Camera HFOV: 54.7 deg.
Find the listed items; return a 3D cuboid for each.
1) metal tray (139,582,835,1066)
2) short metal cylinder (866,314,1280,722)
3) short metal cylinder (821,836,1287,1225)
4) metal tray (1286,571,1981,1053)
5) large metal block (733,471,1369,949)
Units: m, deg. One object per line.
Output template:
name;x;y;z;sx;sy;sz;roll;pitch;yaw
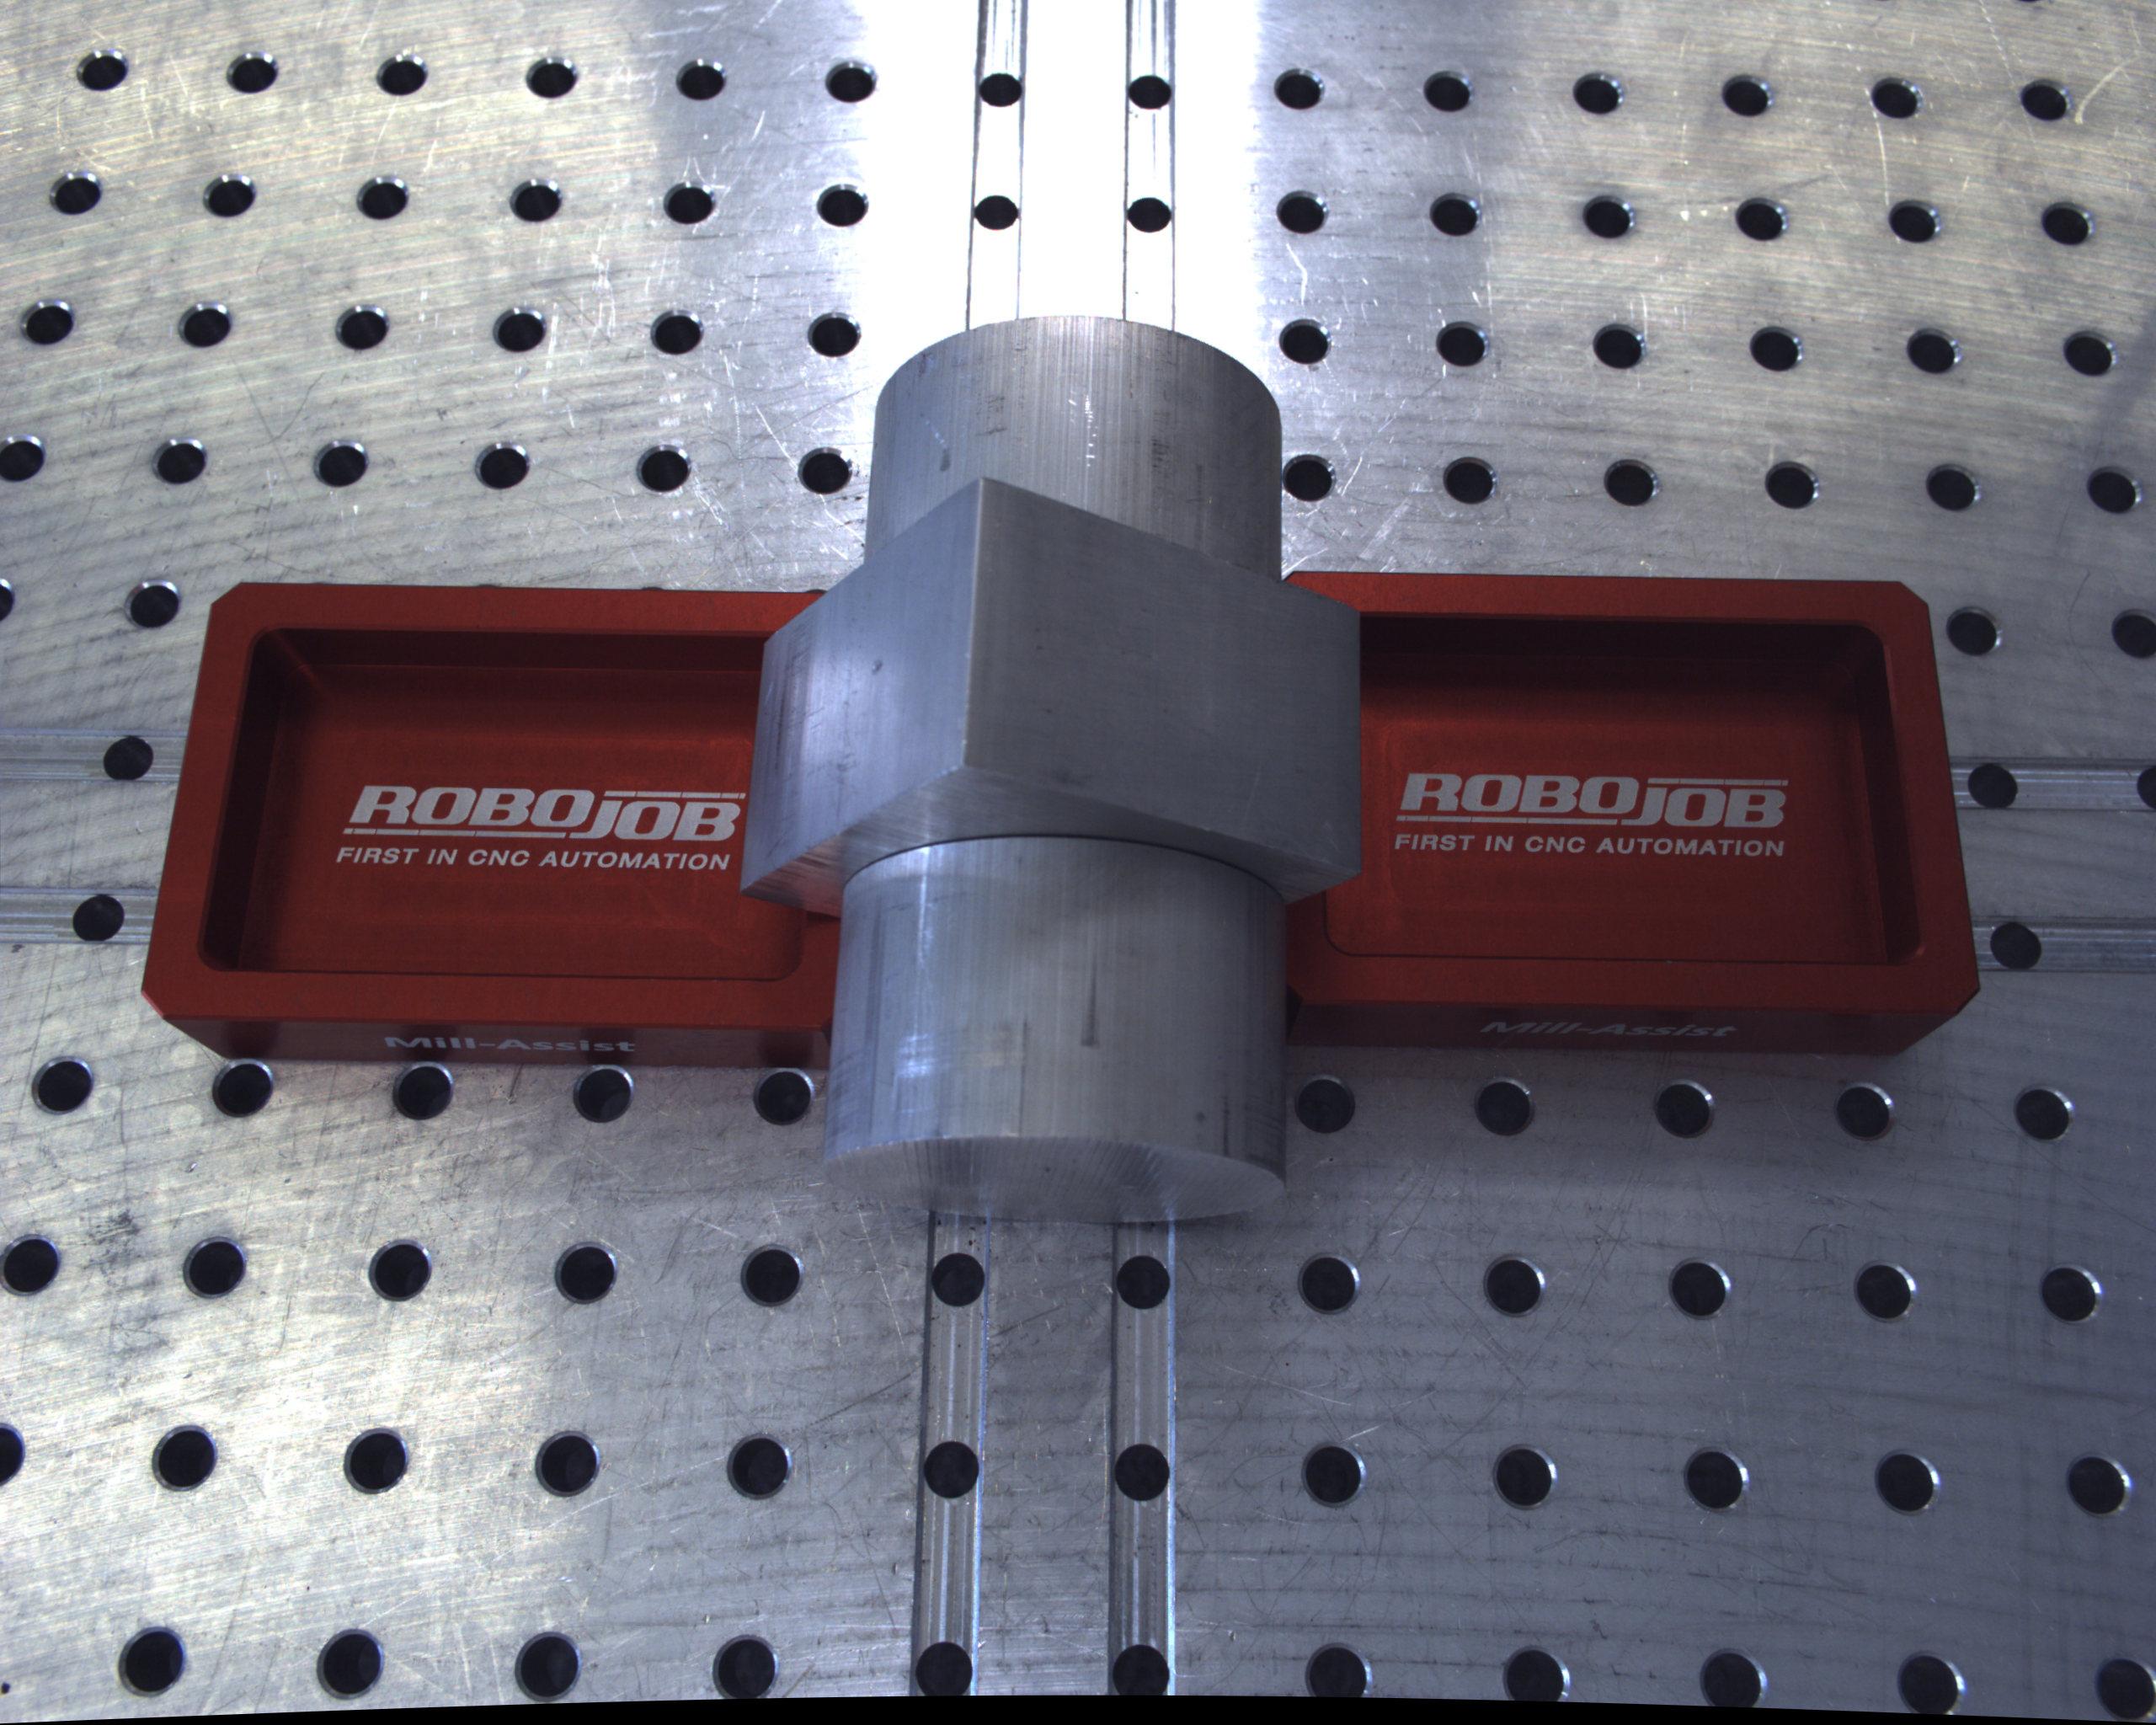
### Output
metal tray;-0.106;-0.008;0.410;0.131;0.030;0.090;1;70;0
short metal cylinder;-0.001;-0.062;0.405;0.081;0.080;0.050;1;70;0
short metal cylinder;-0.003;0.032;0.370;0.081;0.080;0.050;2;70;0
metal tray;0.102;-0.010;0.413;0.131;0.030;0.090;1;70;0
large metal block;-0.005;-0.019;0.374;0.081;0.080;0.050;15;66;-31
